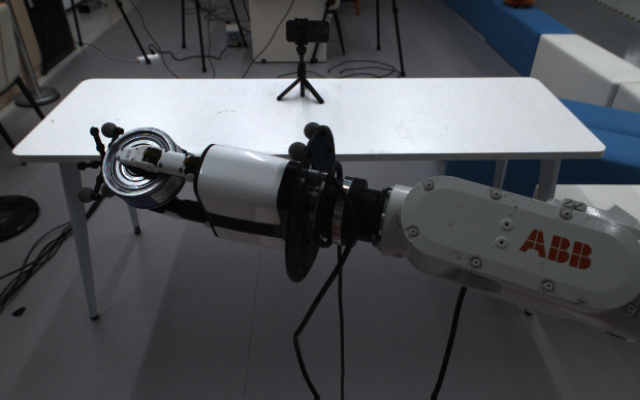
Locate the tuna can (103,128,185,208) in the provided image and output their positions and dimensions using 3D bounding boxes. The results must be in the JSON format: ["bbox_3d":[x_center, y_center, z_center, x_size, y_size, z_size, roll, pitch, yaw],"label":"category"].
[{"bbox_3d":[-0.189,-0.036,0.530,0.085,0.034,0.085,-3,69,7],"label":"tuna can"}]
